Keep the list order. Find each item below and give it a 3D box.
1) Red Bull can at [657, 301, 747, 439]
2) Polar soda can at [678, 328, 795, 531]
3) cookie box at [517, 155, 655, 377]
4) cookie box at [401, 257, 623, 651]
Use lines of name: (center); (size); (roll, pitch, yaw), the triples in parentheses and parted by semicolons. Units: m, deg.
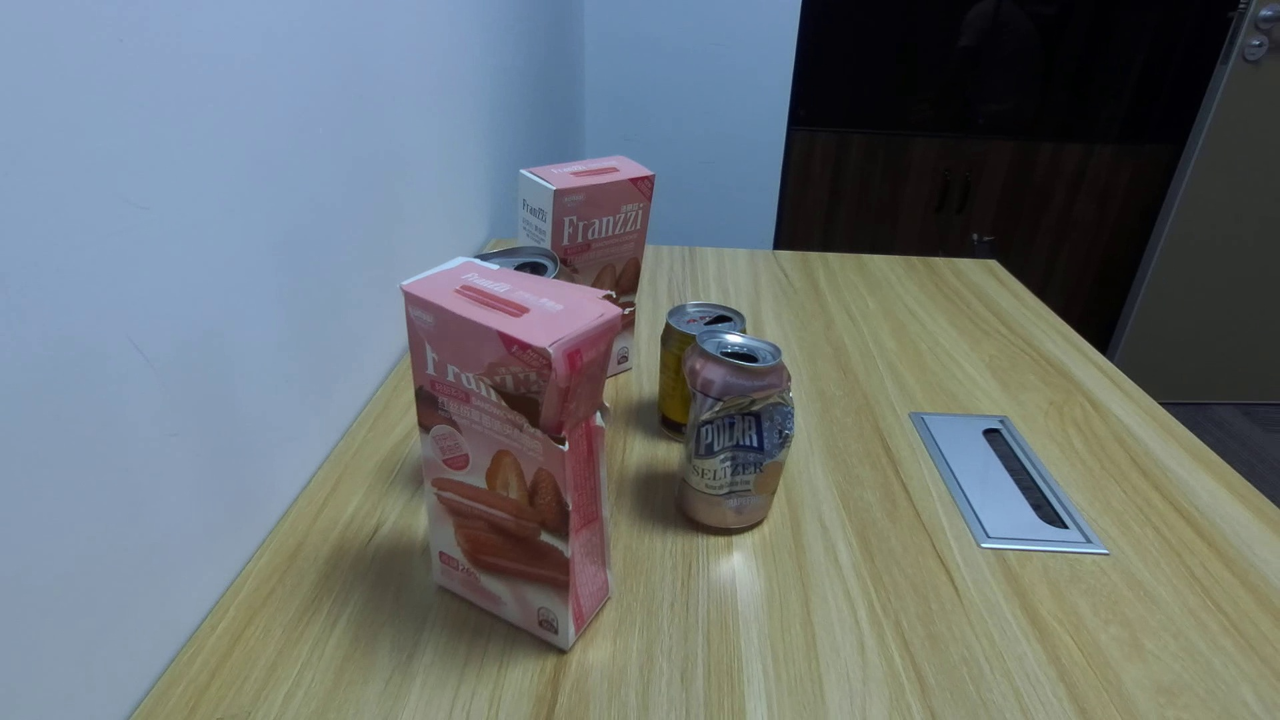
Red Bull can: (0.049, 0.009, 0.544); (0.069, 0.092, 0.069); (1, 29, 0)
Polar soda can: (0.060, 0.043, 0.452); (0.071, 0.122, 0.066); (-1, 23, -8)
cookie box: (-0.043, -0.065, 0.580); (0.105, 0.187, 0.048); (-20, 42, -34)
cookie box: (-0.063, 0.051, 0.363); (0.104, 0.186, 0.059); (18, 33, 27)
